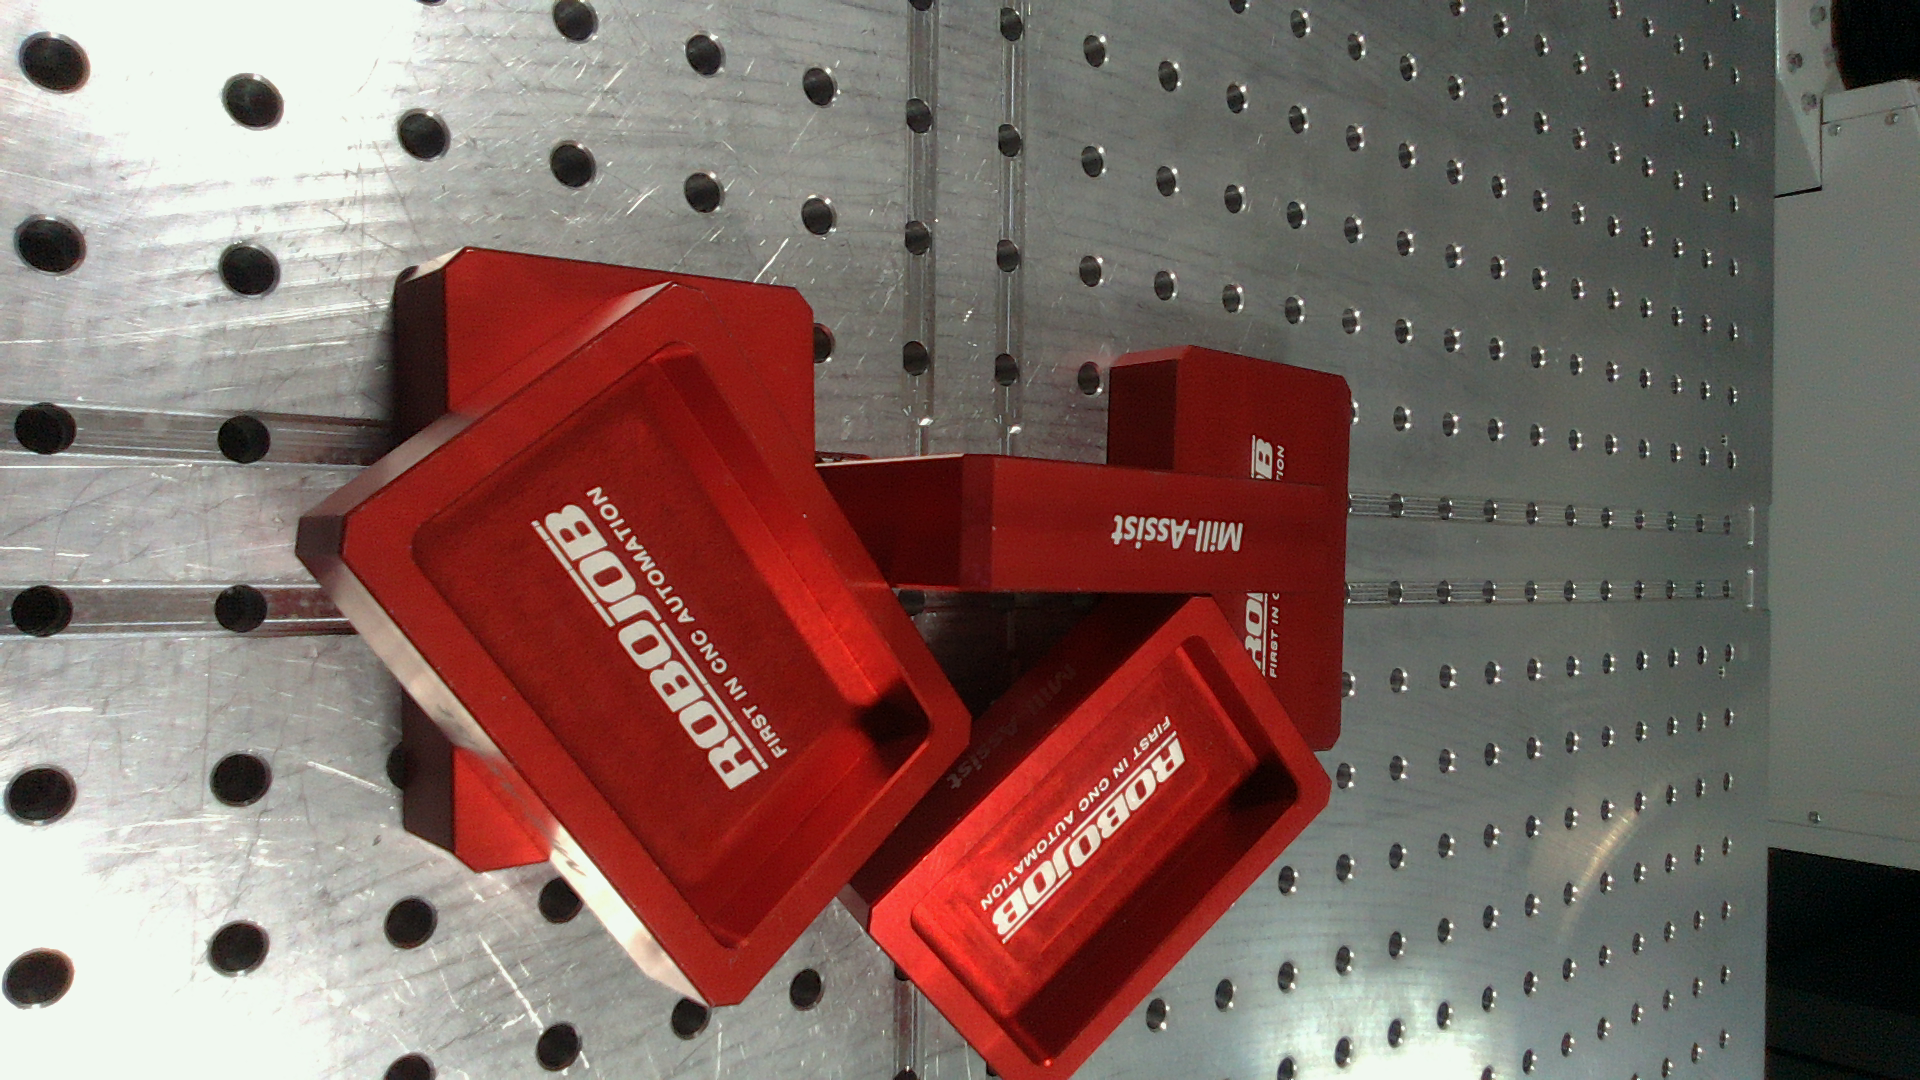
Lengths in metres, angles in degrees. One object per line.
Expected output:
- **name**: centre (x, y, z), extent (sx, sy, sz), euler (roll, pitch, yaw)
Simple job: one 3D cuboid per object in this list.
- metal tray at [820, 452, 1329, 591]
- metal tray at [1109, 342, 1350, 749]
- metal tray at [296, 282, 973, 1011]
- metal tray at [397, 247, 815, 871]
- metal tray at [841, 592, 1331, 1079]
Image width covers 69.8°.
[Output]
- **metal tray**: centre (0.025, -0.003, 0.370), extent (0.131, 0.090, 0.030), euler (2, 89, -40)
- **metal tray**: centre (0.091, 0.005, 0.463), extent (0.090, 0.030, 0.130), euler (4, 88, -40)
- **metal tray**: centre (-0.061, 0.023, 0.297), extent (0.090, 0.030, 0.130), euler (-45, 118, -31)
- **metal tray**: centre (-0.080, 0.003, 0.322), extent (0.090, 0.030, 0.130), euler (-1, 92, -39)
- **metal tray**: centre (0.038, 0.084, 0.396), extent (0.130, 0.030, 0.090), euler (-43, 117, -12)
